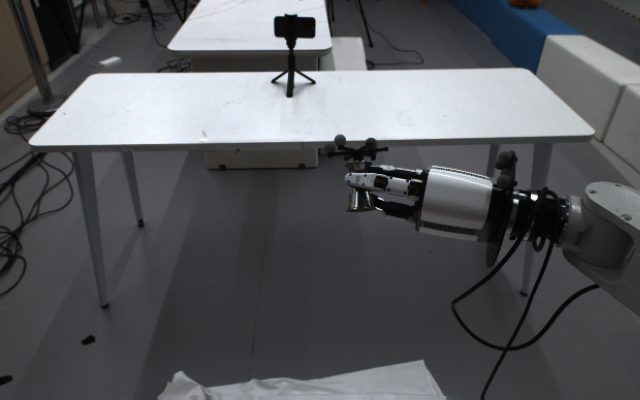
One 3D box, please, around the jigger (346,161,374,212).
[{"bbox_3d":[0.056,-0.020,0.688,0.043,0.071,0.043,-2,-7,0],"label":"jigger"}]
